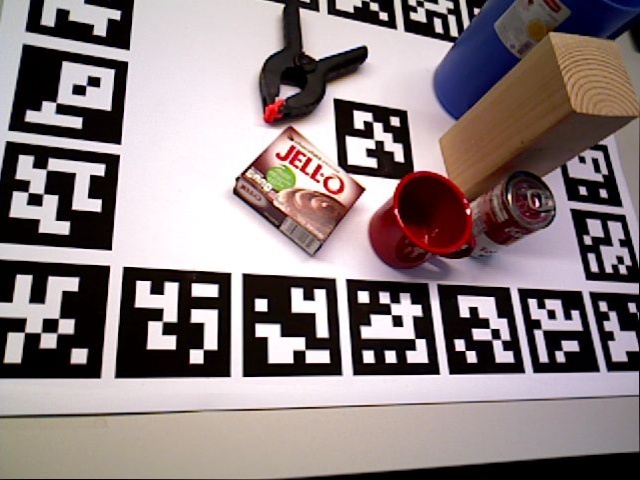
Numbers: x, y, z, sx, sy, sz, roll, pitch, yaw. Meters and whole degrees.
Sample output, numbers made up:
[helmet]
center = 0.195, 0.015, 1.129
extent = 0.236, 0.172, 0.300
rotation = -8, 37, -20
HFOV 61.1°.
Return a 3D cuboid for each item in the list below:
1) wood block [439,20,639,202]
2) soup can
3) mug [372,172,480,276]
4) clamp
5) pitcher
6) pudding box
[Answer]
[wood block]
center = 0.234, -0.122, 0.590
extent = 0.088, 0.211, 0.090
rotation = 2, 68, -24
[soup can]
center = 0.205, -0.021, 0.601
extent = 0.067, 0.104, 0.067
rotation = 6, 69, -18
[mug]
center = 0.116, -0.005, 0.575
extent = 0.117, 0.083, 0.091
rotation = 37, 59, -2
[clamp]
center = -0.019, -0.197, 0.633
extent = 0.121, 0.037, 0.162
rotation = 34, 62, -13
[pitcher]
center = 0.255, -0.239, 0.626
extent = 0.186, 0.248, 0.132
rotation = 3, 66, -17
[pudding box]
center = -0.028, -0.051, 0.567
extent = 0.114, 0.039, 0.088
rotation = 38, 65, -2
